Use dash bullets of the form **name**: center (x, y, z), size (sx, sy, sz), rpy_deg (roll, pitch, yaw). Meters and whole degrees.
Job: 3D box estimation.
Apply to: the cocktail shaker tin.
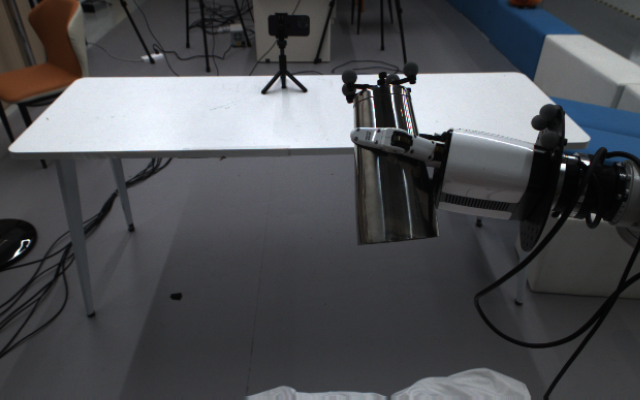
- **cocktail shaker tin**: center (0.080, -0.038, 0.552), size (0.093, 0.170, 0.093), rpy_deg (-6, -7, -1)
